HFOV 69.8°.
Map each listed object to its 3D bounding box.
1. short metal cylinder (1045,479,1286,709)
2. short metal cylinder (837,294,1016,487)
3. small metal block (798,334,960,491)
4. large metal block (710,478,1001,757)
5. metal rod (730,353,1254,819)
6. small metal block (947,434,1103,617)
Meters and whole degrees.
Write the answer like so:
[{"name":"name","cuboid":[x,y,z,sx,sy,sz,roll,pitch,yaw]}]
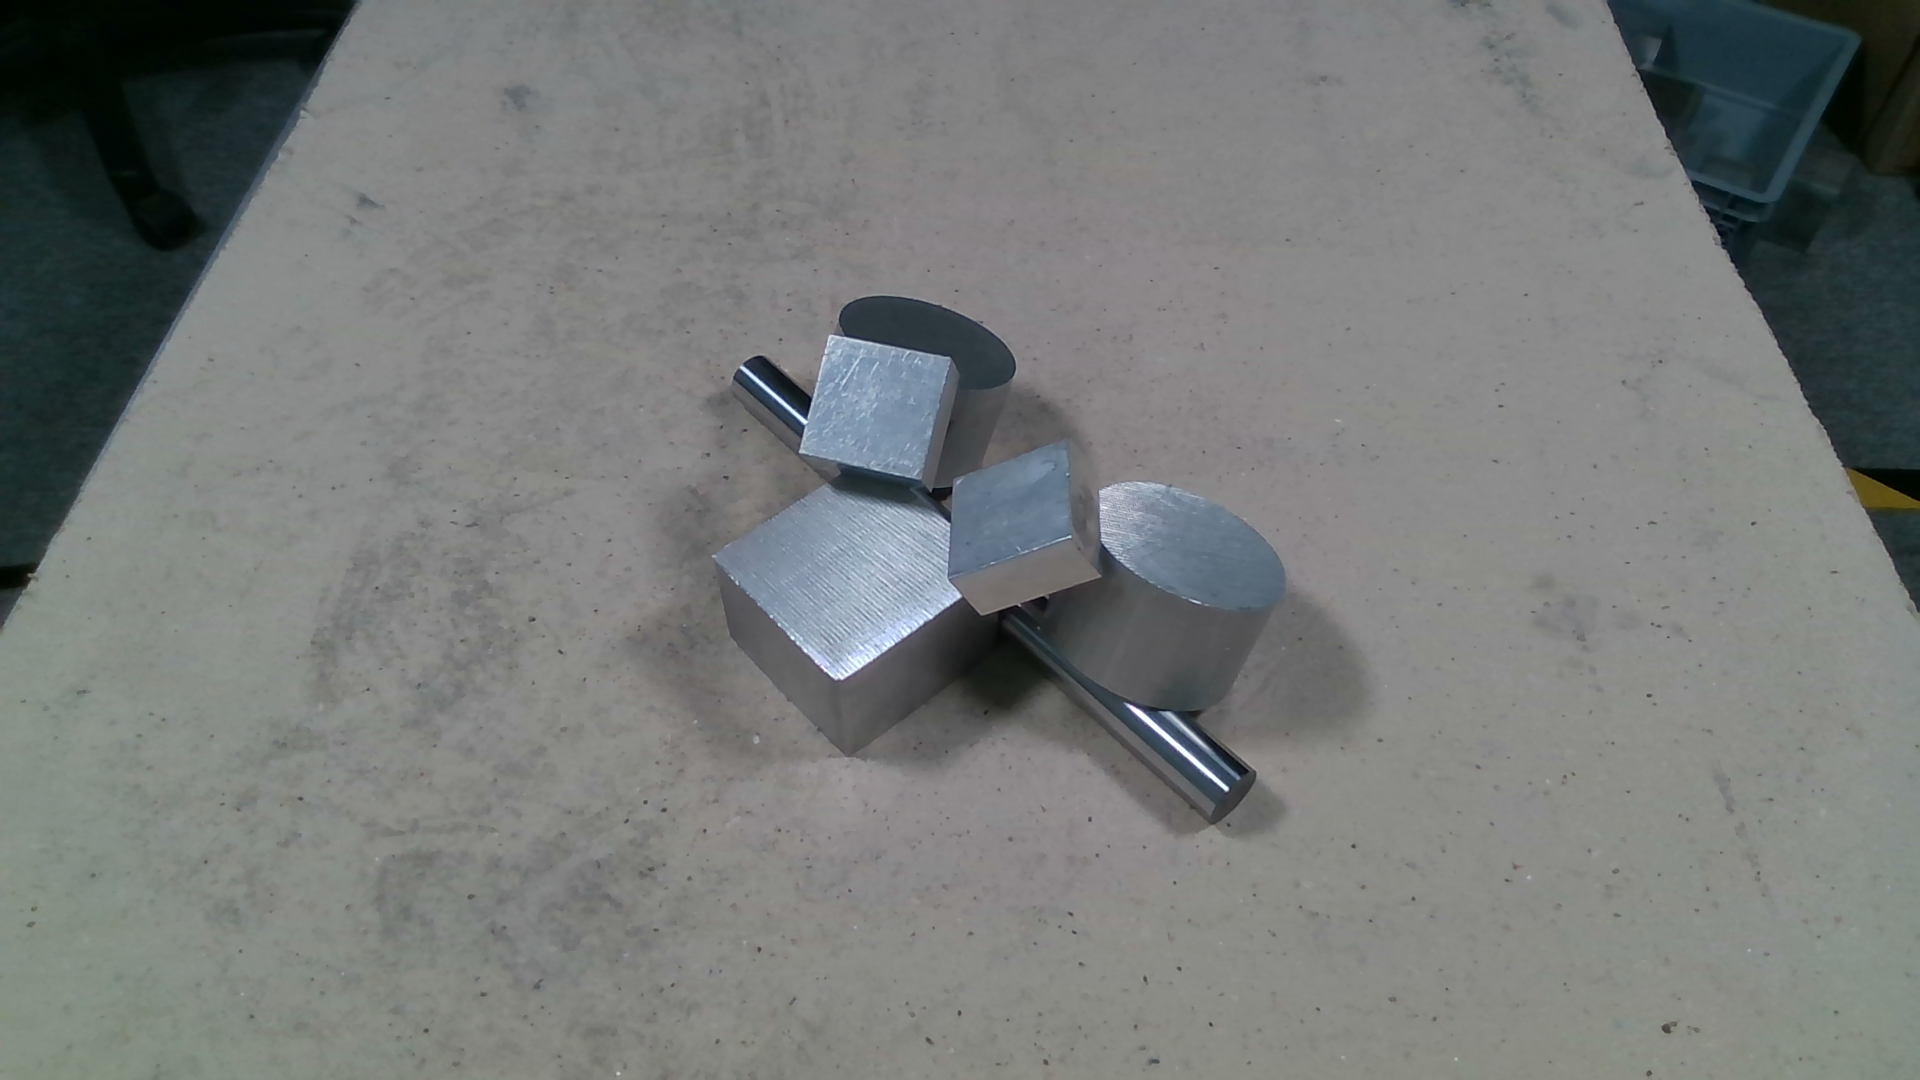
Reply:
[{"name":"short metal cylinder","cuboid":[0.079,0.020,0.535,0.080,0.050,0.080,15,32,-10]},{"name":"short metal cylinder","cuboid":[-0.021,-0.067,0.608,0.080,0.050,0.080,15,32,-10]},{"name":"small metal block","cuboid":[-0.032,-0.050,0.548,0.050,0.025,0.050,12,83,10]},{"name":"large metal block","cuboid":[-0.040,0.024,0.548,0.080,0.050,0.080,-34,58,-25]},{"name":"metal rod","cuboid":[0.001,0.008,0.580,0.025,0.025,0.299,-34,58,-25]},{"name":"small metal block","cuboid":[0.024,-0.005,0.510,0.050,0.025,0.050,-19,45,24]}]
